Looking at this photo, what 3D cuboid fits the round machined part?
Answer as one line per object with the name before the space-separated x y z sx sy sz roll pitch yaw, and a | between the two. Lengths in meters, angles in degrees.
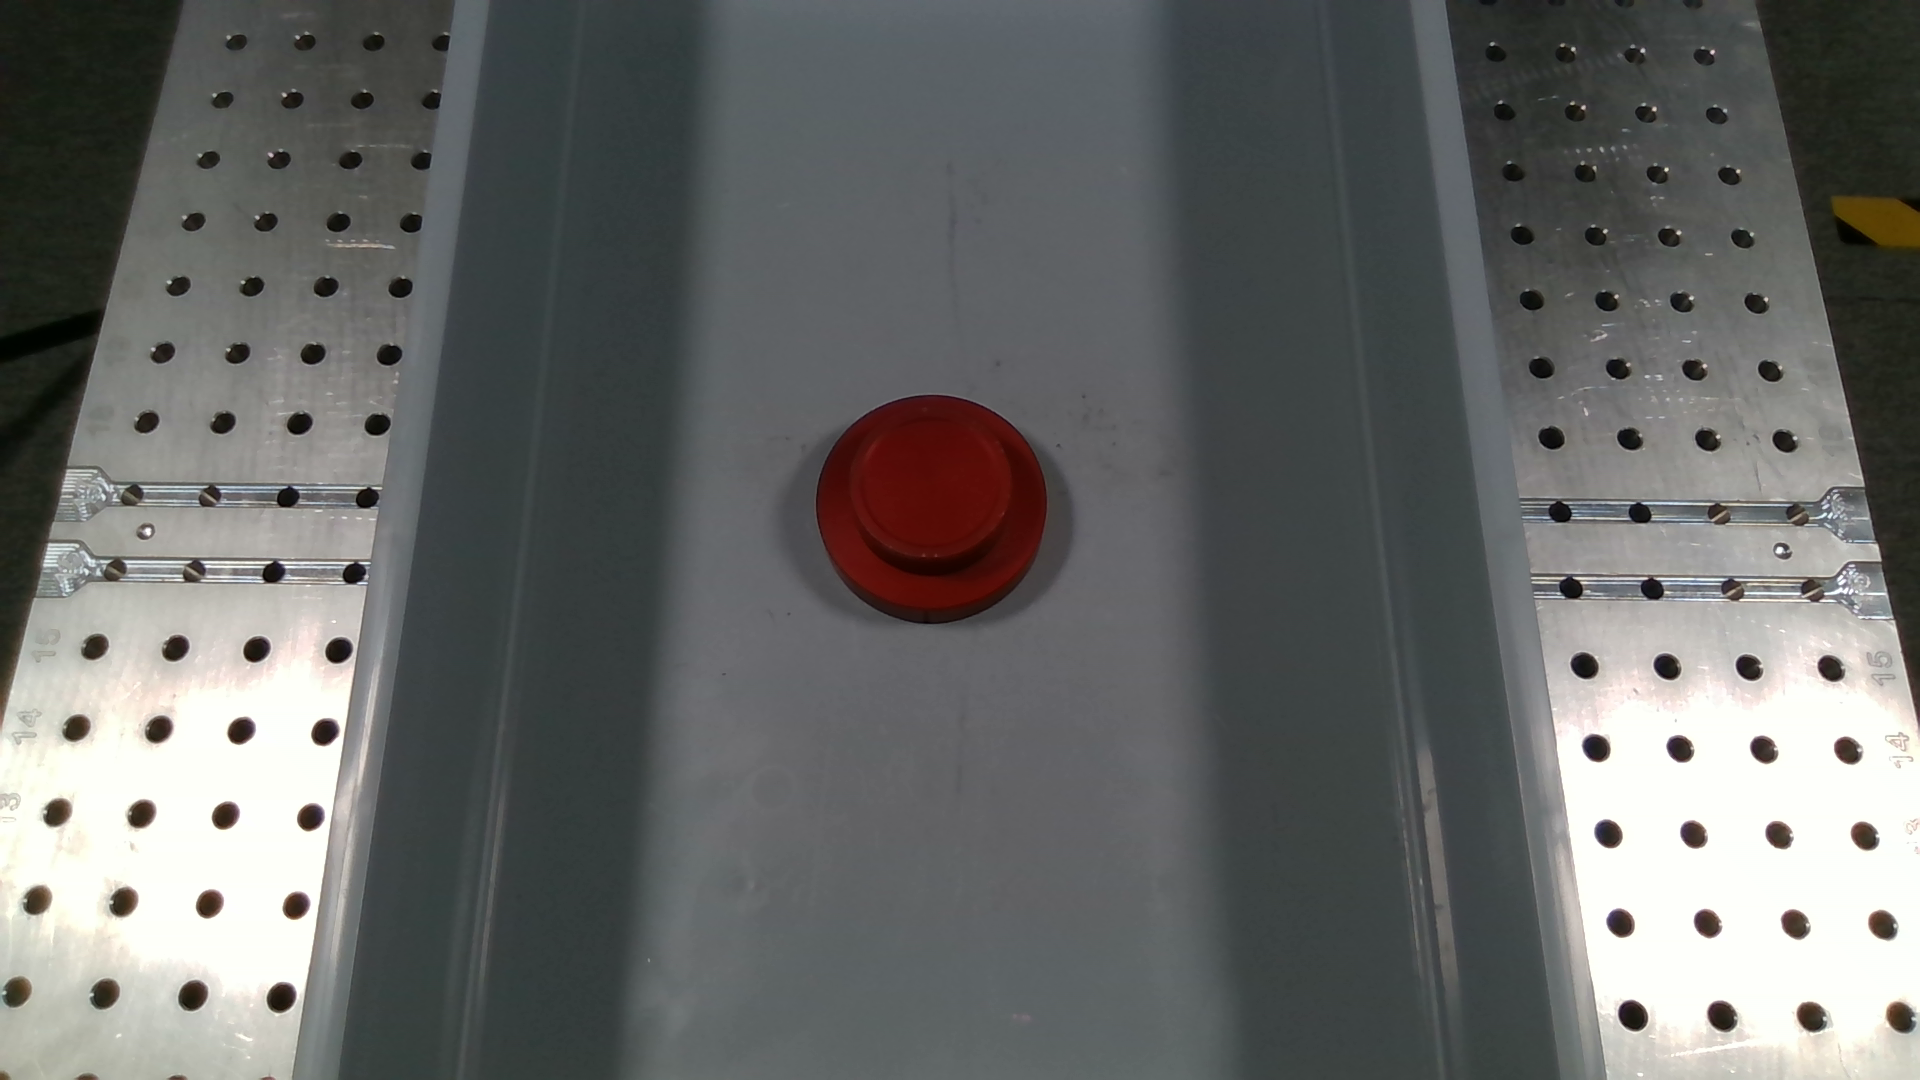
round machined part | -0.013 -0.018 0.582 0.098 0.042 0.098 0 70 0
